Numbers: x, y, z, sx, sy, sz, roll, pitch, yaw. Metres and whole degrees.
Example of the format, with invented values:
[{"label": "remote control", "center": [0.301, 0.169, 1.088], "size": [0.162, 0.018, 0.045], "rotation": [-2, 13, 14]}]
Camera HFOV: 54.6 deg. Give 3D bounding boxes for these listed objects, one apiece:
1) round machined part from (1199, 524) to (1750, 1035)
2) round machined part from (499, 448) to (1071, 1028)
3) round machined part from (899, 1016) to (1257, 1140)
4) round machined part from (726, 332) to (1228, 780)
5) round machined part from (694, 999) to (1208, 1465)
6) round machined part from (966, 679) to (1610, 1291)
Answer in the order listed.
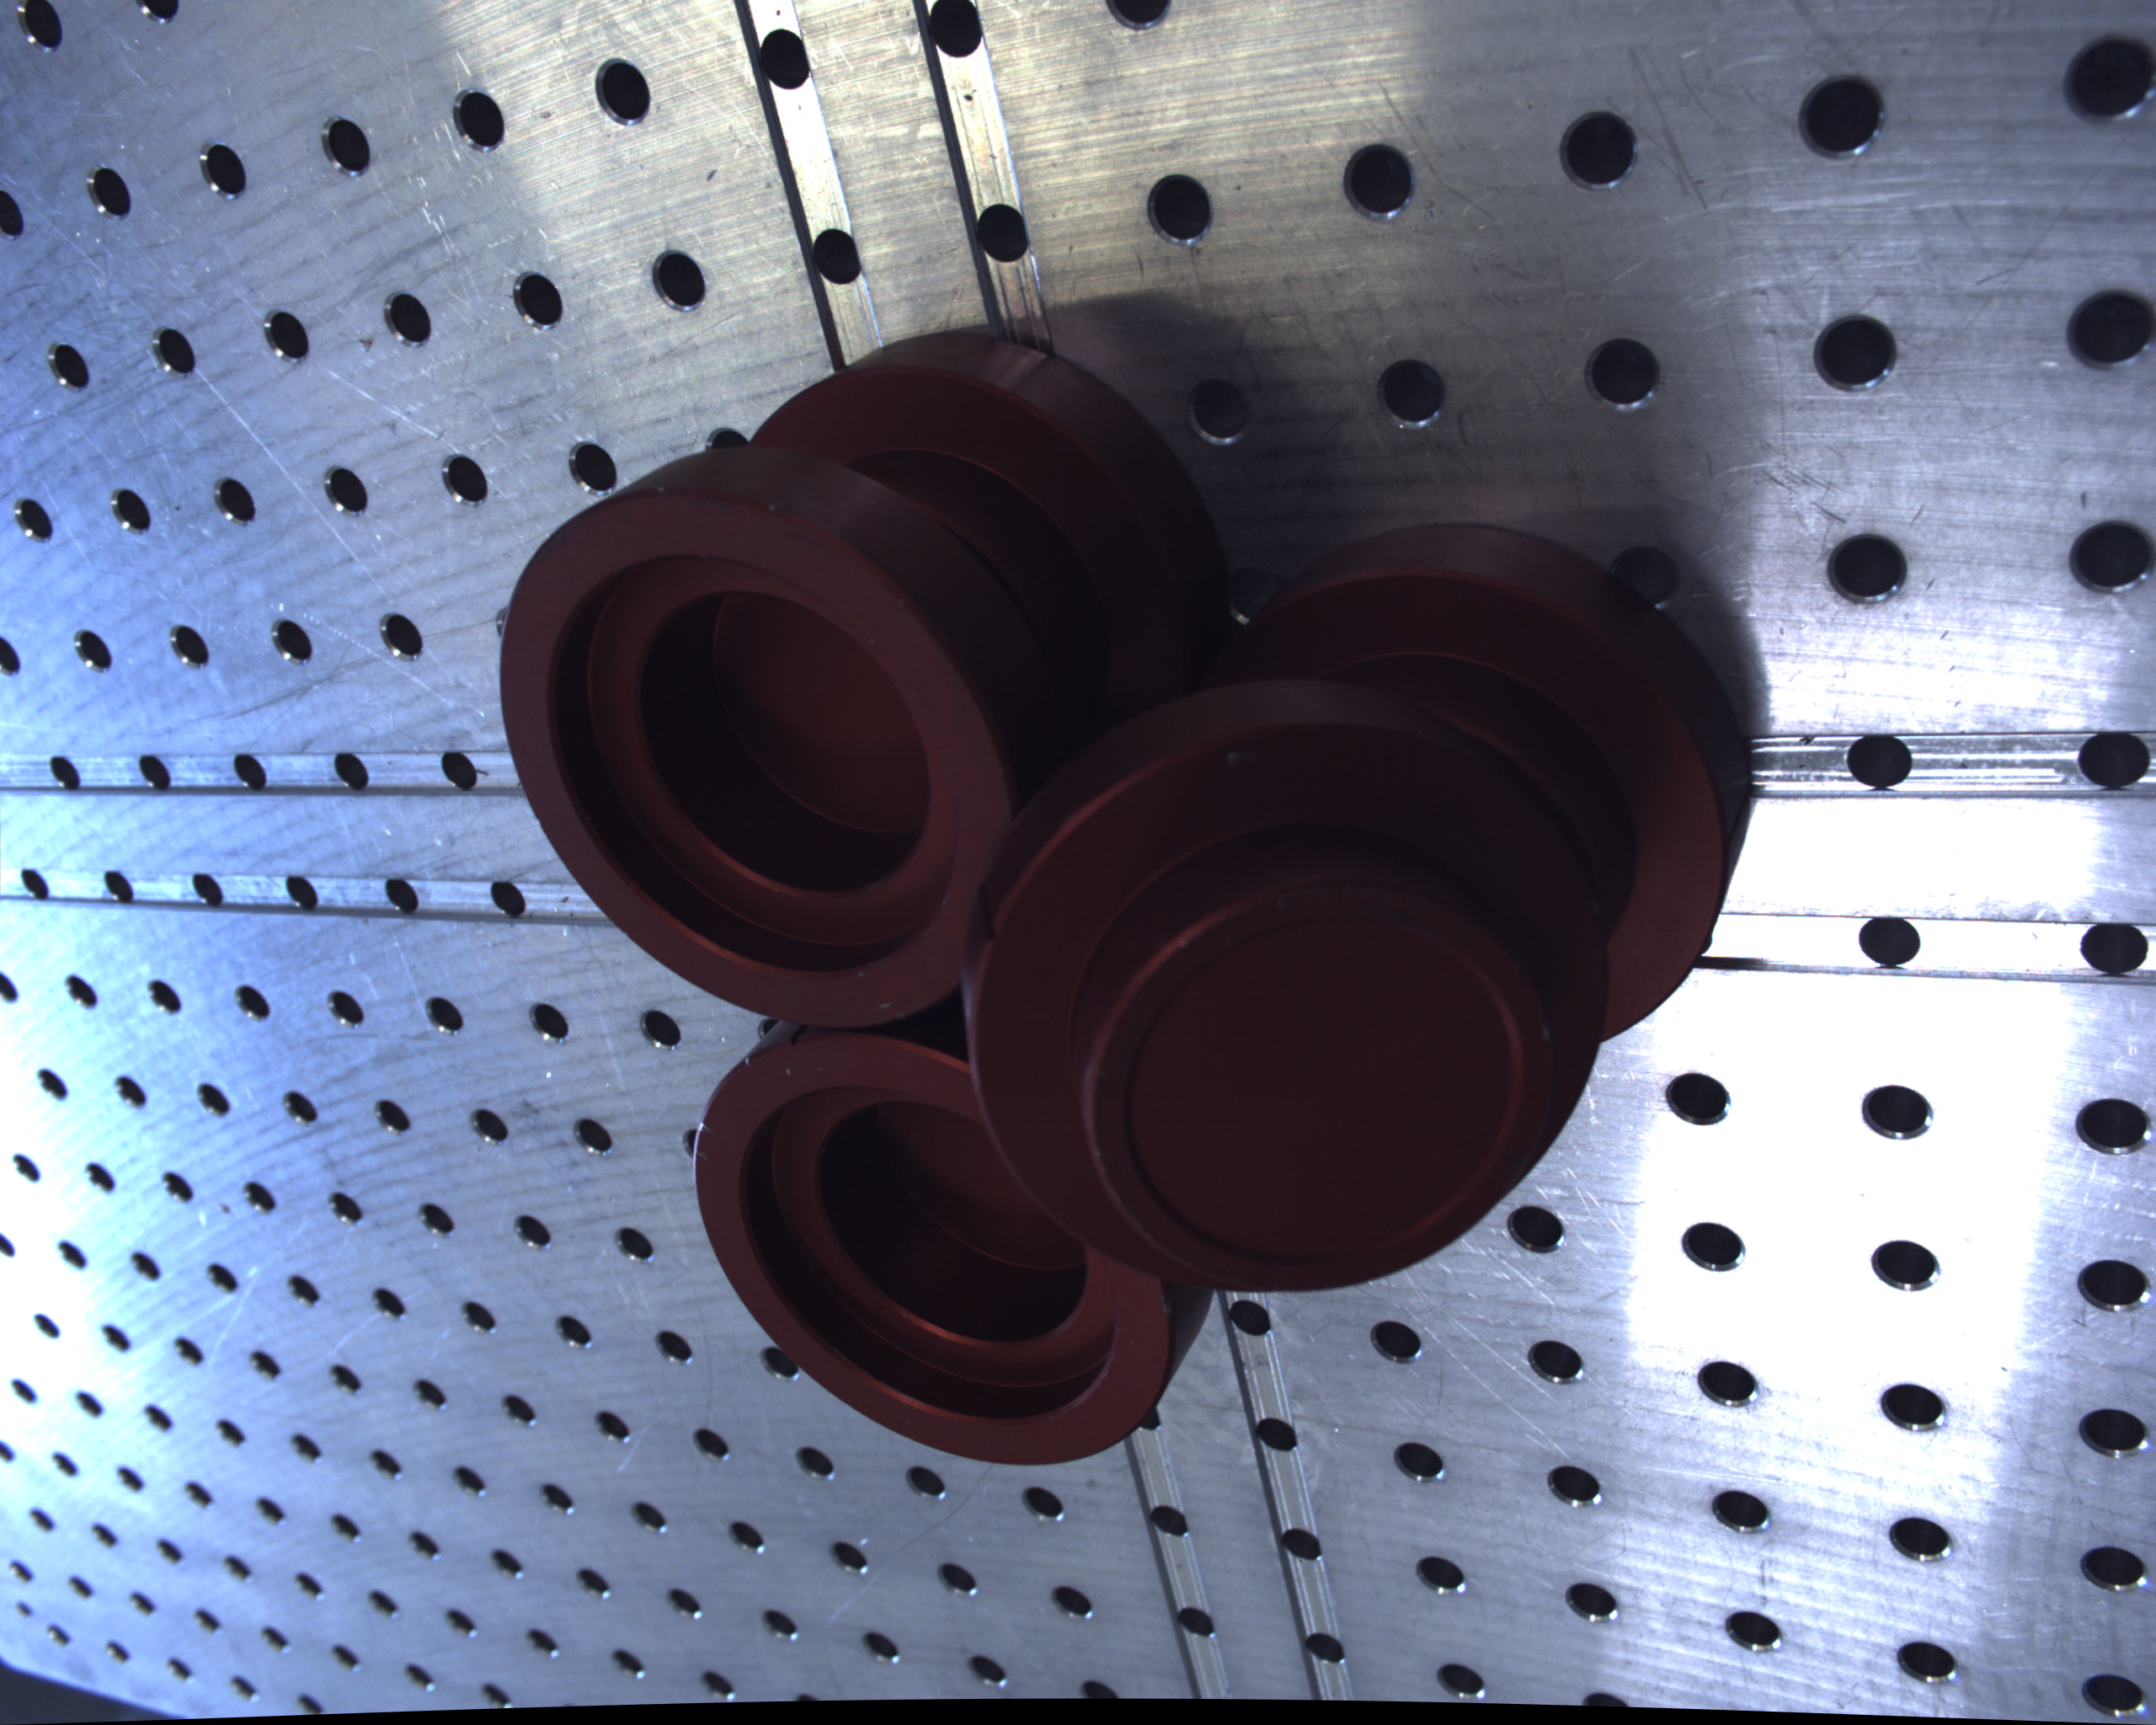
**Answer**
[{"label": "round machined part", "center": [0.063, -0.006, 0.364], "size": [0.098, 0.042, 0.097], "rotation": [13, 124, 21]}, {"label": "round machined part", "center": [-0.045, -0.024, 0.355], "size": [0.098, 0.042, 0.097], "rotation": [13, 124, 21]}, {"label": "round machined part", "center": [-0.002, 0.042, 0.428], "size": [0.098, 0.042, 0.097], "rotation": [13, 124, 21]}, {"label": "round machined part", "center": [-0.025, -0.045, 0.388], "size": [0.098, 0.042, 0.097], "rotation": [13, 124, 21]}, {"label": "round machined part", "center": [-0.020, 0.062, 0.395], "size": [0.098, 0.042, 0.097], "rotation": [13, 124, 21]}, {"label": "round machined part", "center": [0.033, 0.025, 0.316], "size": [0.099, 0.042, 0.097], "rotation": [-3, 114, -6]}]
